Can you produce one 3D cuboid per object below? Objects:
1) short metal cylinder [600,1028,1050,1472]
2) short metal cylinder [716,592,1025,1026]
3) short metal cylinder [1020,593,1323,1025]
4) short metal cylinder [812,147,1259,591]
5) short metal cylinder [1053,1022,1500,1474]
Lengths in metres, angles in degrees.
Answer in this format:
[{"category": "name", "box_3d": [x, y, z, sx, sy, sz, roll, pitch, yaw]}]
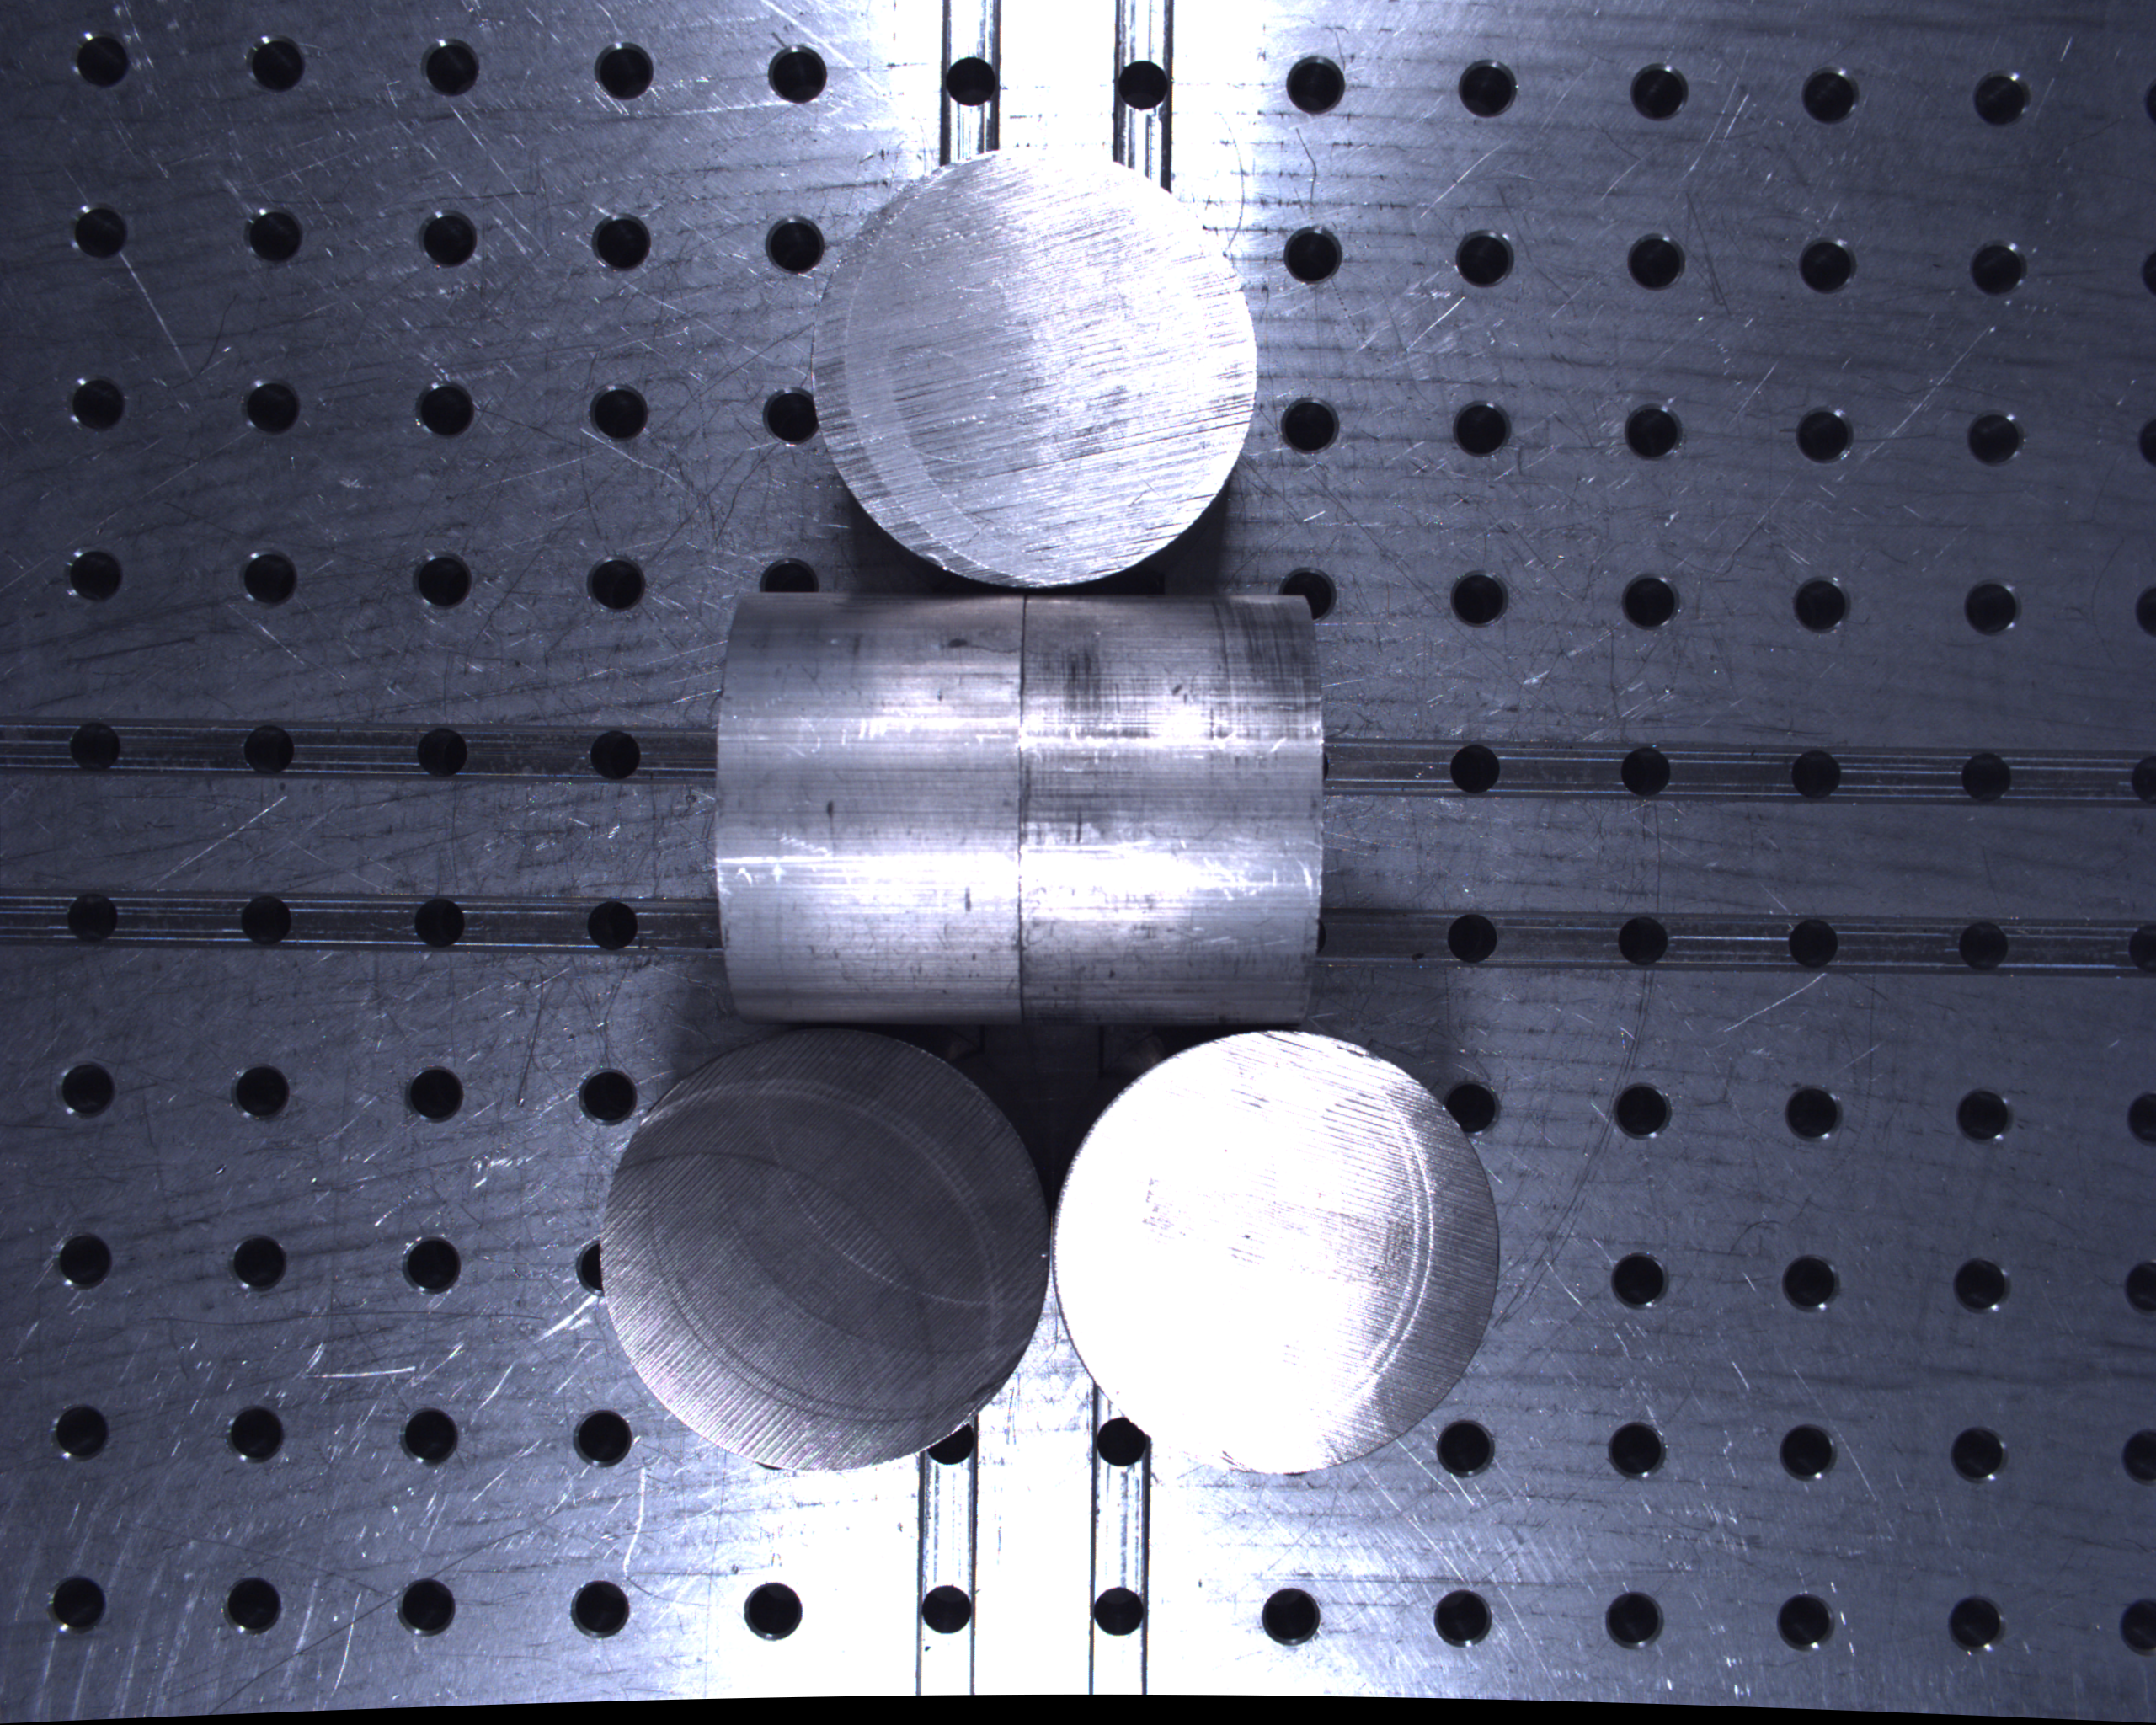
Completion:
[{"category": "short metal cylinder", "box_3d": [-0.046, 0.070, 0.399, 0.081, 0.050, 0.079, 0, 90, -1]}, {"category": "short metal cylinder", "box_3d": [-0.035, -0.010, 0.386, 0.050, 0.080, 0.079, 0, 90, 0]}, {"category": "short metal cylinder", "box_3d": [0.015, -0.010, 0.387, 0.050, 0.080, 0.079, 0, 90, 0]}, {"category": "short metal cylinder", "box_3d": [-0.008, -0.089, 0.400, 0.081, 0.050, 0.079, 0, 90, -1]}, {"category": "short metal cylinder", "box_3d": [0.036, 0.070, 0.400, 0.081, 0.050, 0.079, 0, 90, -1]}]
